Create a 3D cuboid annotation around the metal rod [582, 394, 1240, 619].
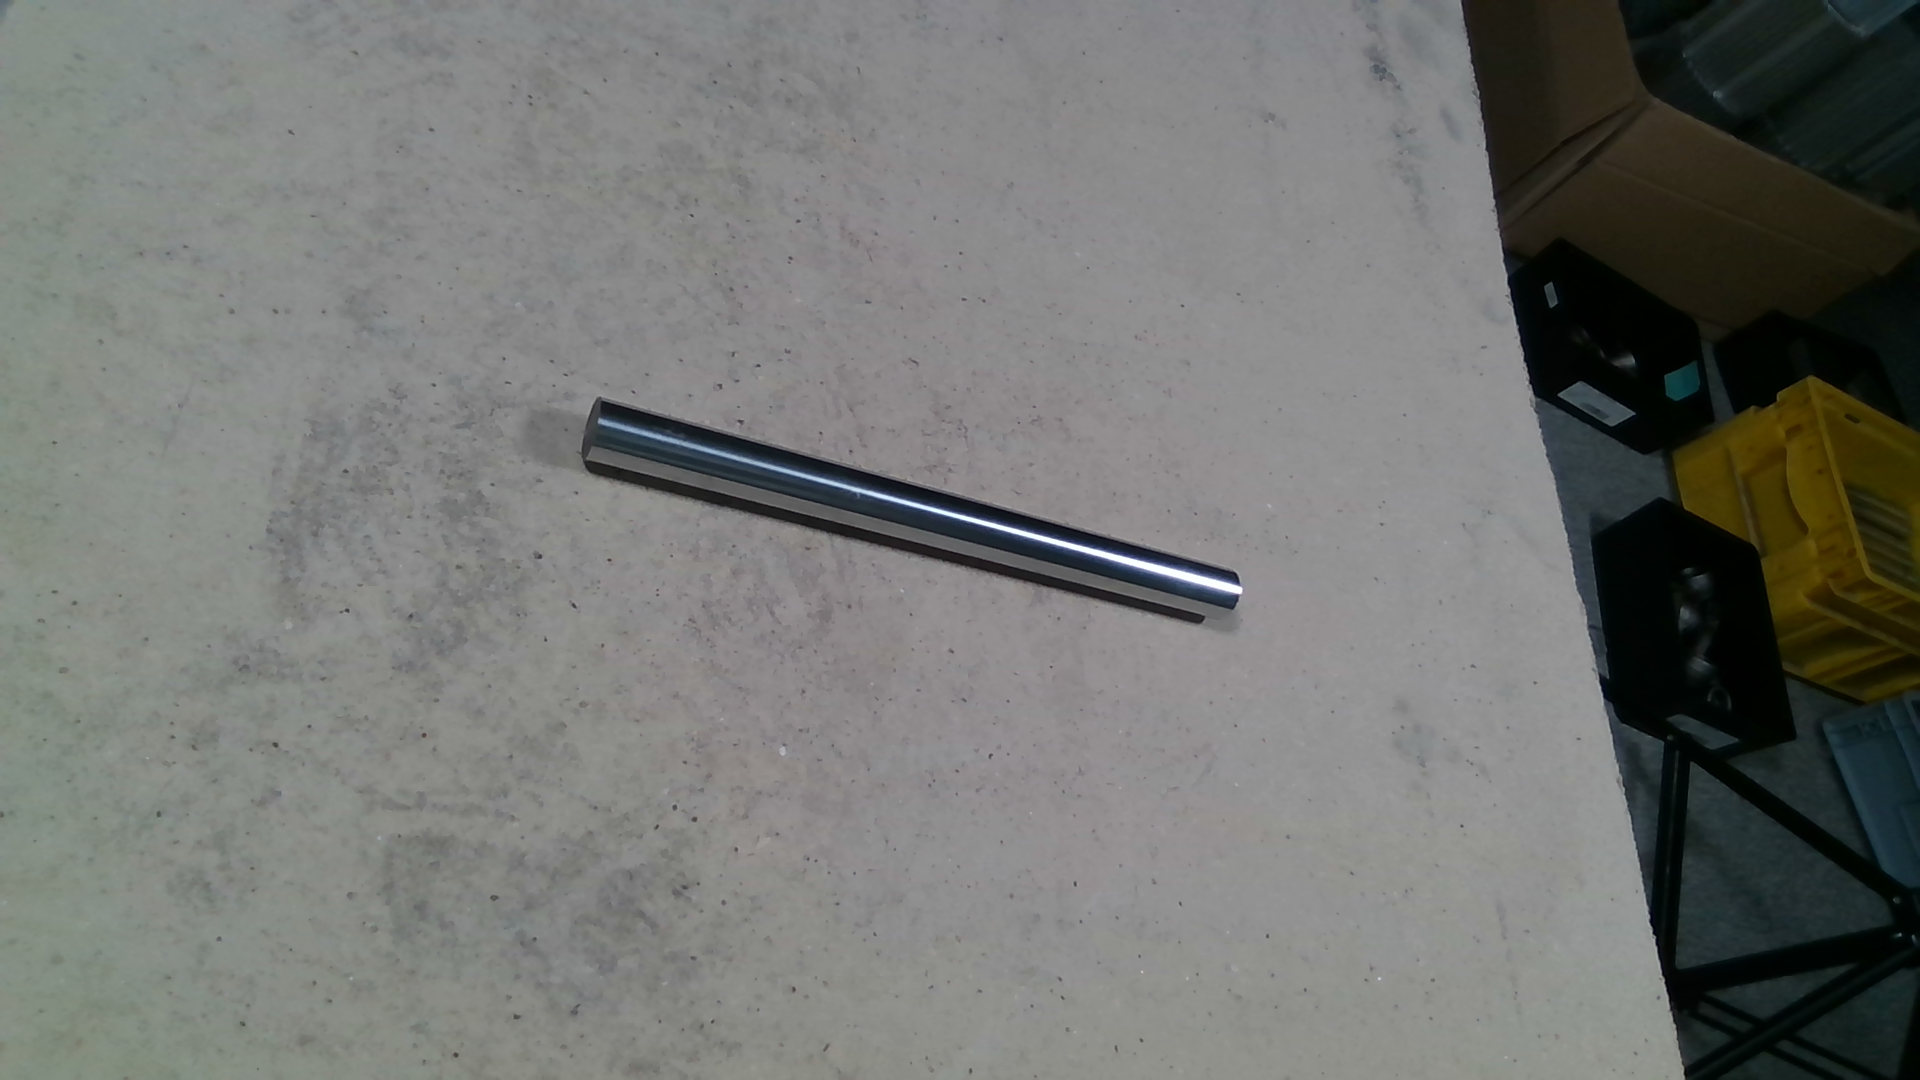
[{"bbox_3d":[-0.008,-0.009,0.586,0.300,0.025,0.025,15,58,-25],"label":"metal rod"}]
